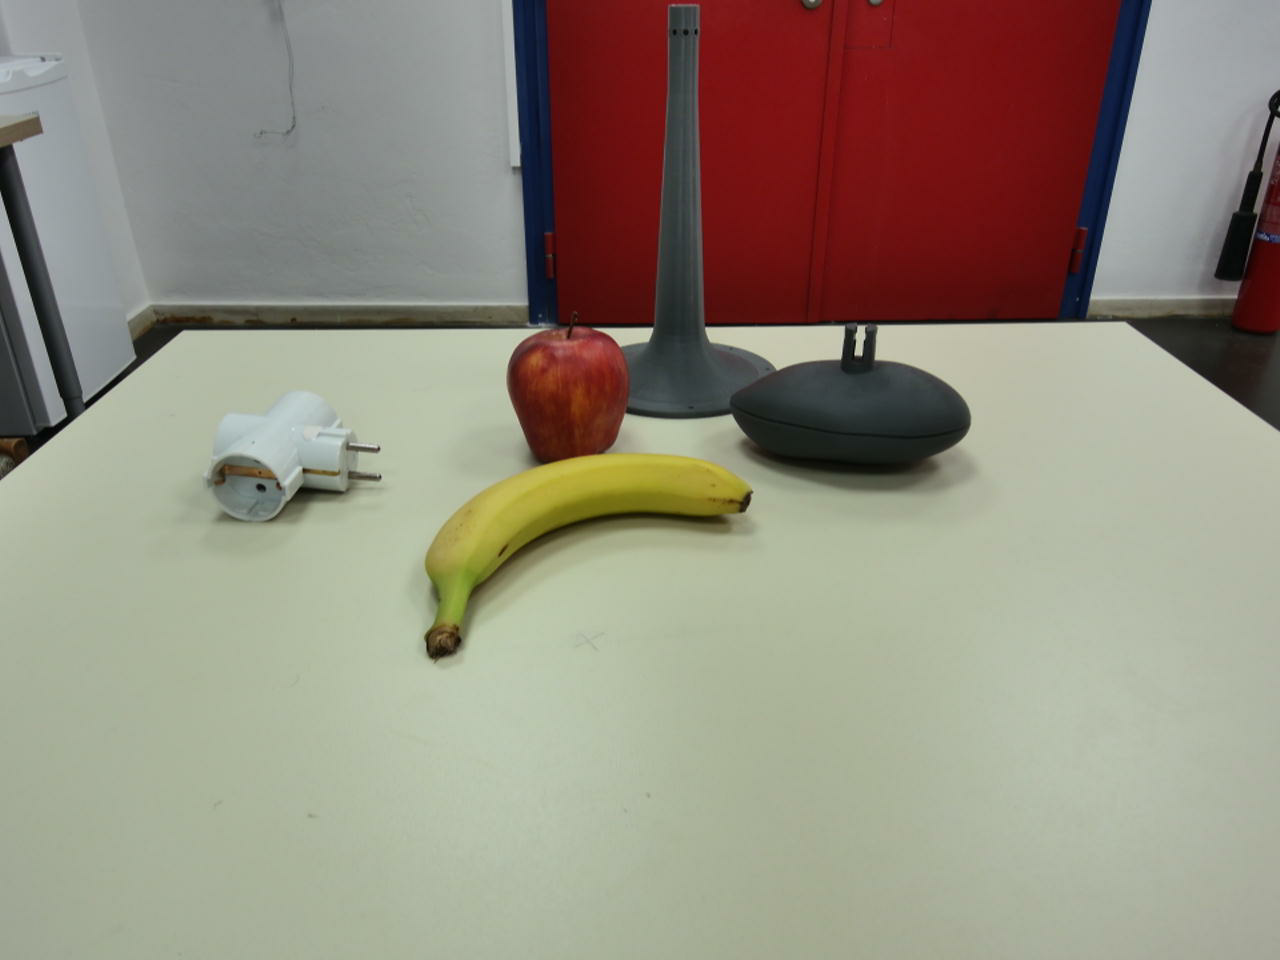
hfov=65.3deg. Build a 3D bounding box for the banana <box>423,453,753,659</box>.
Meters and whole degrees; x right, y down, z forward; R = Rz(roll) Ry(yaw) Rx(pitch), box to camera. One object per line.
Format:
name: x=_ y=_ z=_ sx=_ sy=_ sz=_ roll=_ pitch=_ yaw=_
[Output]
banana: x=-0.040 y=0.022 z=0.524 sx=0.196 sy=0.041 sz=0.094 roll=-18 pitch=31 yaw=-32
